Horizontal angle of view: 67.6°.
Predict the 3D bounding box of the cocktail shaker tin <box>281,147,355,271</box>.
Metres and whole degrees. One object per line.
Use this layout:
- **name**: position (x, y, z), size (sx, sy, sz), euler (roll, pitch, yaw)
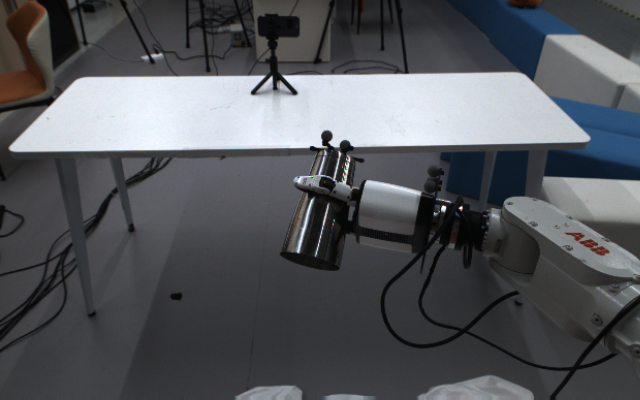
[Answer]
- **cocktail shaker tin**: position (0.005, 0.013, 0.738), size (0.093, 0.093, 0.170), euler (10, 71, 12)
